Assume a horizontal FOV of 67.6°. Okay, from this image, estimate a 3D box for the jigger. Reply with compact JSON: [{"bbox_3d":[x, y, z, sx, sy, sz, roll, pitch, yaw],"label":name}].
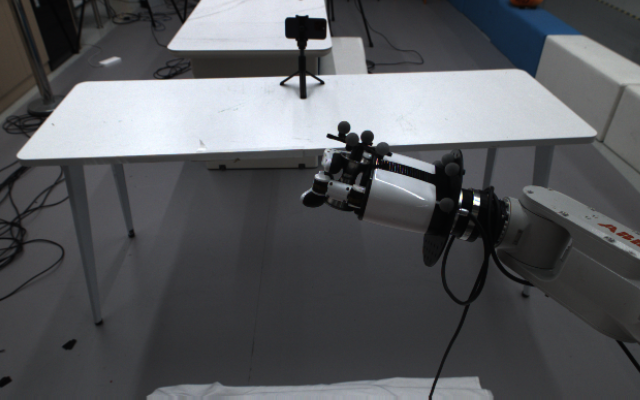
[{"bbox_3d":[0.036,-0.024,0.640,0.043,0.071,0.043,18,17,-6],"label":"jigger"}]
